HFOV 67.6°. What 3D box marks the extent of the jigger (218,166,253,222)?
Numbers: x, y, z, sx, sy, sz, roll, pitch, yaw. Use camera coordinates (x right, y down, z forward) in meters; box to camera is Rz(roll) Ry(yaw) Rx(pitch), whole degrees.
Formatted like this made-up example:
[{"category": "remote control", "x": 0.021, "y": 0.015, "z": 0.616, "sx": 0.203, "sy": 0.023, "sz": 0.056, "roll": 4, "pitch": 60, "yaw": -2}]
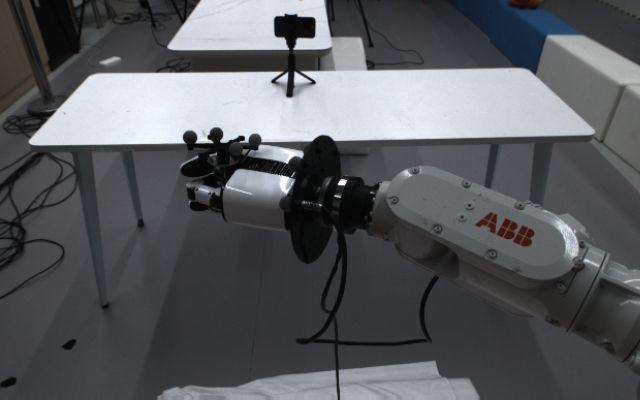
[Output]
[{"category": "jigger", "x": -0.122, "y": -0.022, "z": 0.639, "sx": 0.043, "sy": 0.071, "sz": 0.043, "roll": 3, "pitch": 25, "yaw": -1}]
